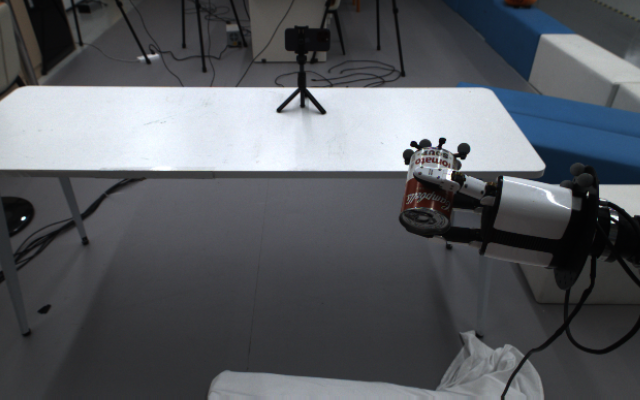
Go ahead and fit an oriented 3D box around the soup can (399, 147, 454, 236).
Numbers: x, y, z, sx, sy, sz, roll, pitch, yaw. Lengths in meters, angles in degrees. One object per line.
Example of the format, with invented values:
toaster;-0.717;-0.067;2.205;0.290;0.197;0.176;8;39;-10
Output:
soup can;0.150;-0.015;0.659;0.067;0.067;0.101;9;60;10
